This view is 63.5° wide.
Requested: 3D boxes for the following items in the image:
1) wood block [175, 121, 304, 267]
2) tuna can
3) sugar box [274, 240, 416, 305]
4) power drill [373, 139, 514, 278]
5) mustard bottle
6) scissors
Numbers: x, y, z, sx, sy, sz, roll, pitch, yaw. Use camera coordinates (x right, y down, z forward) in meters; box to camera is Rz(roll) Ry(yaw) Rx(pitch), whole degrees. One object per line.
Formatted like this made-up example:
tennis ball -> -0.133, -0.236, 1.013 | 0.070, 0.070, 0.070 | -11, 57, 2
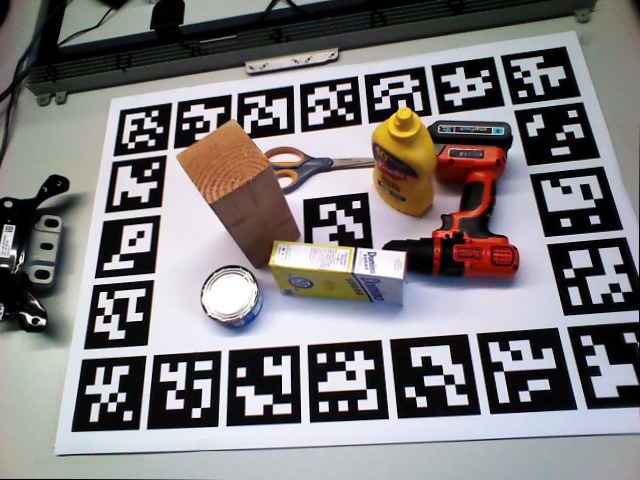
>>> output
wood block -> -0.100, -0.053, 0.698 | 0.091, 0.206, 0.090 | -32, 67, -4
tuna can -> -0.125, 0.078, 0.728 | 0.086, 0.034, 0.085 | -4, 68, 8
sugar box -> 0.035, 0.045, 0.685 | 0.177, 0.093, 0.045 | 6, 65, 11
power drill -> 0.175, -0.043, 0.713 | 0.185, 0.057, 0.186 | 7, 76, 13
mustard bottle -> 0.116, -0.108, 0.686 | 0.058, 0.192, 0.096 | -43, 68, -8
scissors -> -0.010, -0.120, 0.802 | 0.203, 0.016, 0.087 | -4, 63, 9
